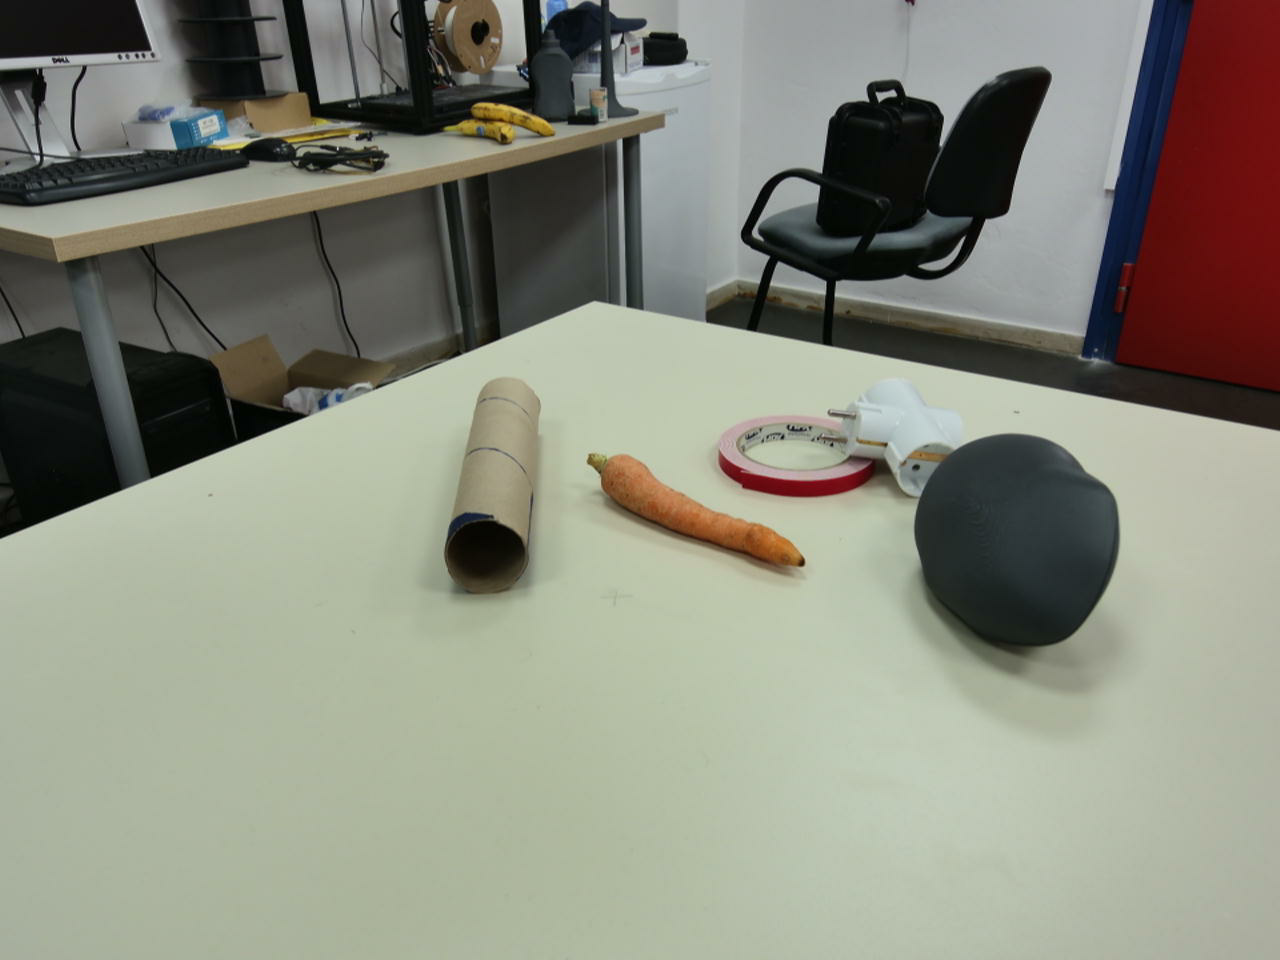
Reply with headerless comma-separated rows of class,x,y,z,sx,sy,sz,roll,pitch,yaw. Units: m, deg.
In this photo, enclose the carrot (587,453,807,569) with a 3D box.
carrot,0.030,0.017,0.614,0.030,0.032,0.173,-23,33,-39
